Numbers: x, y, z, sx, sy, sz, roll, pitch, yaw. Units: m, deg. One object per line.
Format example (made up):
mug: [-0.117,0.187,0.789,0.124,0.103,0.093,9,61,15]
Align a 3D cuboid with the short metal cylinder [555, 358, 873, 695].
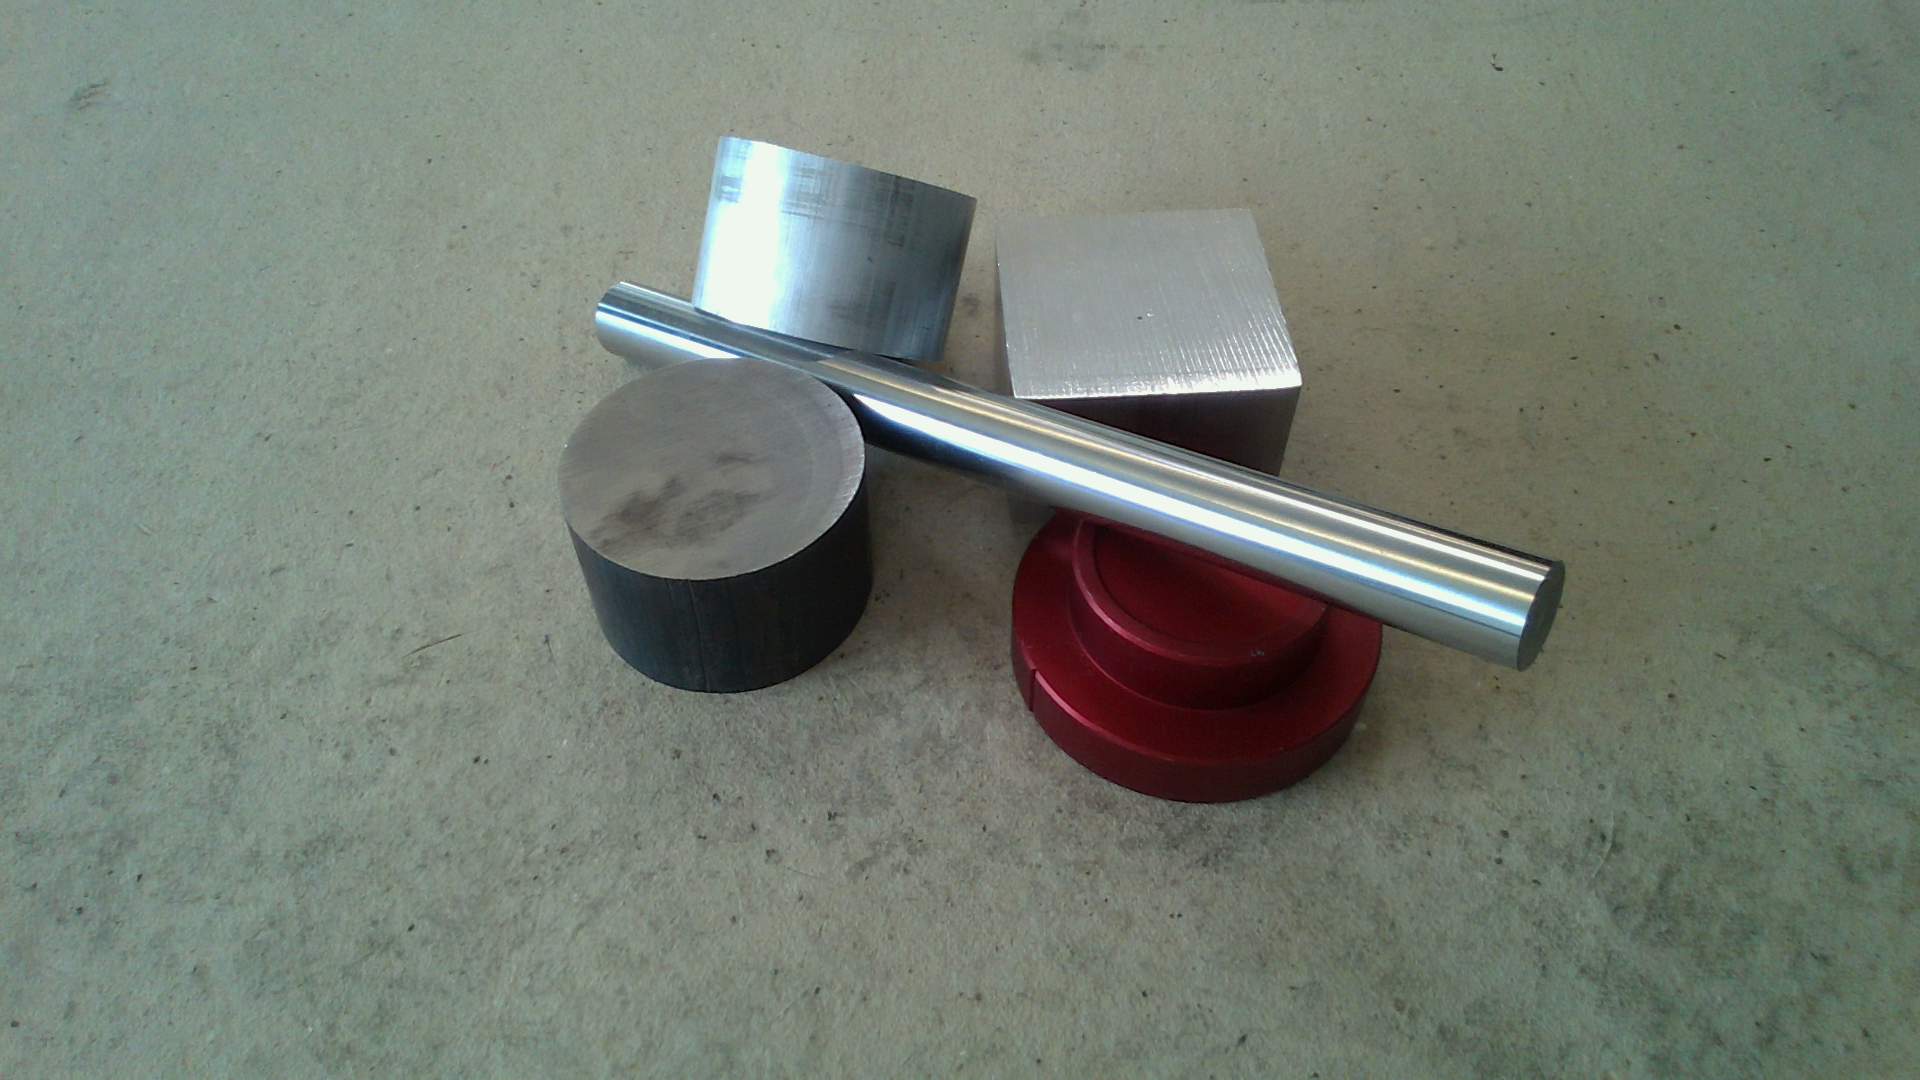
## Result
short metal cylinder: [-0.066,-0.005,0.380,0.080,0.050,0.080,0,50,0]

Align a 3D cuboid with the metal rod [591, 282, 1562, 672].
metal rod: [0.005,-0.029,0.372,0.299,0.025,0.025,21,52,33]

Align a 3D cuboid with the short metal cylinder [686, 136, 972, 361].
short metal cylinder: [-0.040,-0.090,0.426,0.080,0.050,0.080,13,12,-2]

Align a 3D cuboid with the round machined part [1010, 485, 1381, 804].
round machined part: [0.062,0.017,0.365,0.098,0.042,0.098,0,50,0]

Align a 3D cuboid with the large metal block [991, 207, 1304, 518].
large metal block: [0.052,-0.055,0.419,0.080,0.050,0.080,-2,50,-2]
